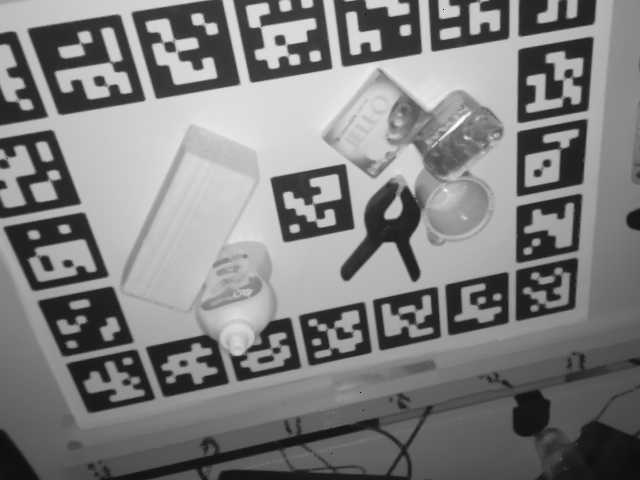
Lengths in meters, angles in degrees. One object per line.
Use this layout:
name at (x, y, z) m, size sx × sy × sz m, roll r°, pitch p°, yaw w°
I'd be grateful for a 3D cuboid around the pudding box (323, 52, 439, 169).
pudding box at (0.073, -0.158, 0.848) m, size 0.090 × 0.039 × 0.113 m, roll 38°, pitch 107°, yaw -24°

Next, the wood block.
wood block at (-0.165, -0.050, 0.841) m, size 0.090 × 0.091 × 0.204 m, roll 25°, pitch 113°, yaw -22°

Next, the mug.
mug at (0.173, -0.059, 0.917) m, size 0.094 × 0.082 × 0.116 m, roll 11°, pitch 114°, yaw -14°

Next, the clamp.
clamp at (0.095, -0.014, 0.933) m, size 0.123 × 0.037 × 0.163 m, roll 9°, pitch 114°, yaw -12°

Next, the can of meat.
can of meat at (0.175, -0.141, 0.842) m, size 0.101 × 0.084 × 0.058 m, roll -36°, pitch 116°, yaw 11°

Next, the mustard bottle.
mustard bottle at (-0.106, 0.060, 0.844) m, size 0.096 × 0.192 × 0.058 m, roll -13°, pitch 118°, yaw -2°
